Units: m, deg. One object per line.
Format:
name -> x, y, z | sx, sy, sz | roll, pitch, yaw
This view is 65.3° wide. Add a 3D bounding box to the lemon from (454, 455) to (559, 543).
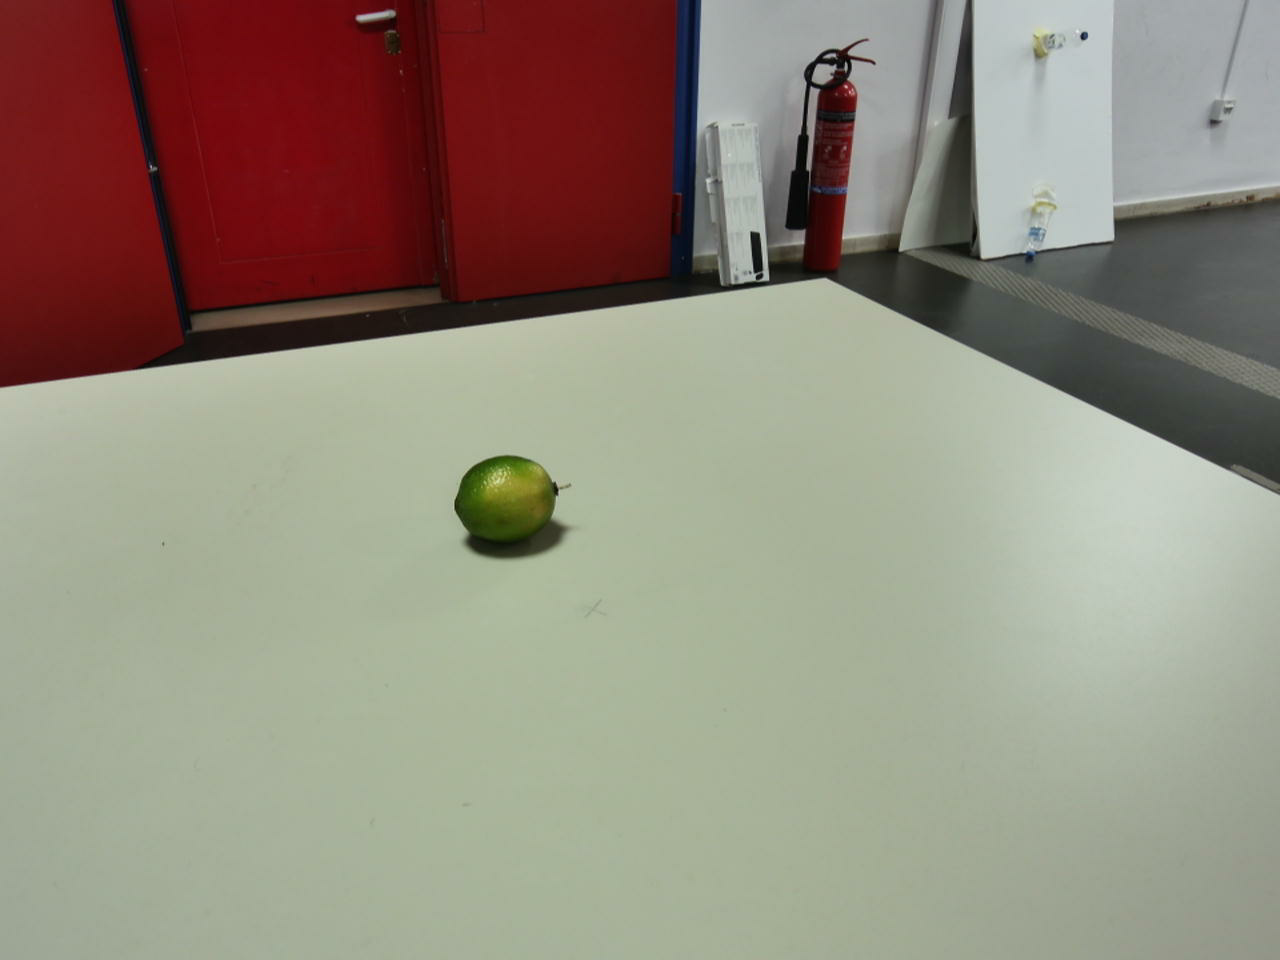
lemon -> -0.078, 0.011, 0.583 | 0.055, 0.050, 0.054 | 12, 29, 23
